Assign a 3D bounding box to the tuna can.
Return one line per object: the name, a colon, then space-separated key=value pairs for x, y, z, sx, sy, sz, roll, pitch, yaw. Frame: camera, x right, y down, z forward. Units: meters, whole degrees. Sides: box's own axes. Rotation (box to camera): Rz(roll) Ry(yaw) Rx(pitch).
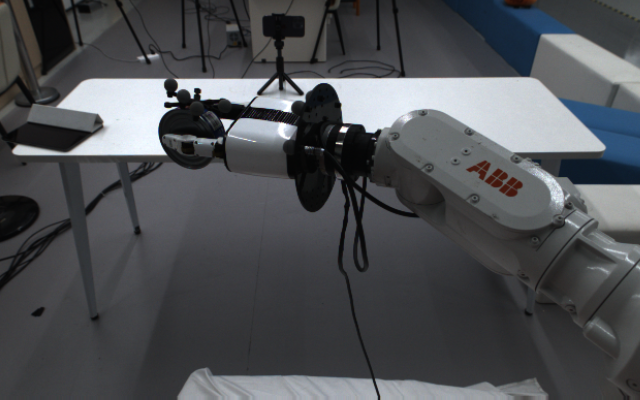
tuna can: x=-0.171 y=-0.086 z=0.655 sx=0.085 sy=0.085 sz=0.034 roll=12 pitch=30 yaw=15
